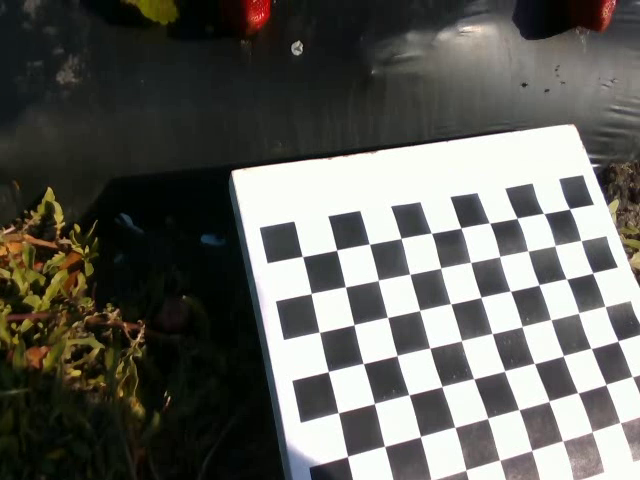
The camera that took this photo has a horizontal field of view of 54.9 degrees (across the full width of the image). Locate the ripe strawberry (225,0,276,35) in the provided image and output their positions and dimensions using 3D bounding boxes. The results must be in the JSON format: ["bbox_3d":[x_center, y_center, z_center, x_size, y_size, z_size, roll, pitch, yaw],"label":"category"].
[{"bbox_3d":[-0.052,-0.154,0.426,0.045,0.042,0.055,0,41,-20],"label":"ripe strawberry"}]

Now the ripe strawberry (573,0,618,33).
[{"bbox_3d":[0.209,-0.169,0.469,0.042,0.059,0.042,14,-32,-15],"label":"ripe strawberry"}]
